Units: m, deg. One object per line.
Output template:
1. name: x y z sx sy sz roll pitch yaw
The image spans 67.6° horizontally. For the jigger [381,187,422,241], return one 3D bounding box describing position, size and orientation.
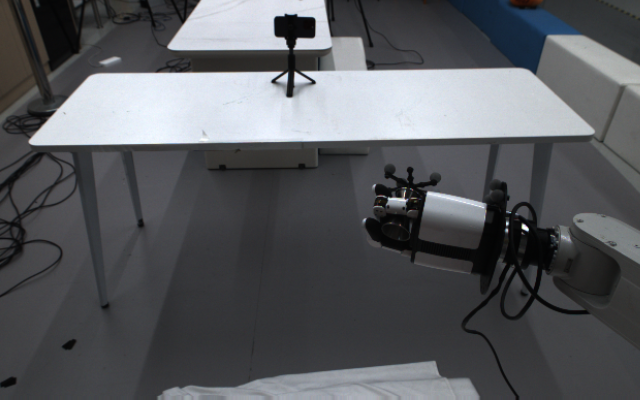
1. jigger: 0.123 0.019 0.710 0.043 0.043 0.071 13 58 15
